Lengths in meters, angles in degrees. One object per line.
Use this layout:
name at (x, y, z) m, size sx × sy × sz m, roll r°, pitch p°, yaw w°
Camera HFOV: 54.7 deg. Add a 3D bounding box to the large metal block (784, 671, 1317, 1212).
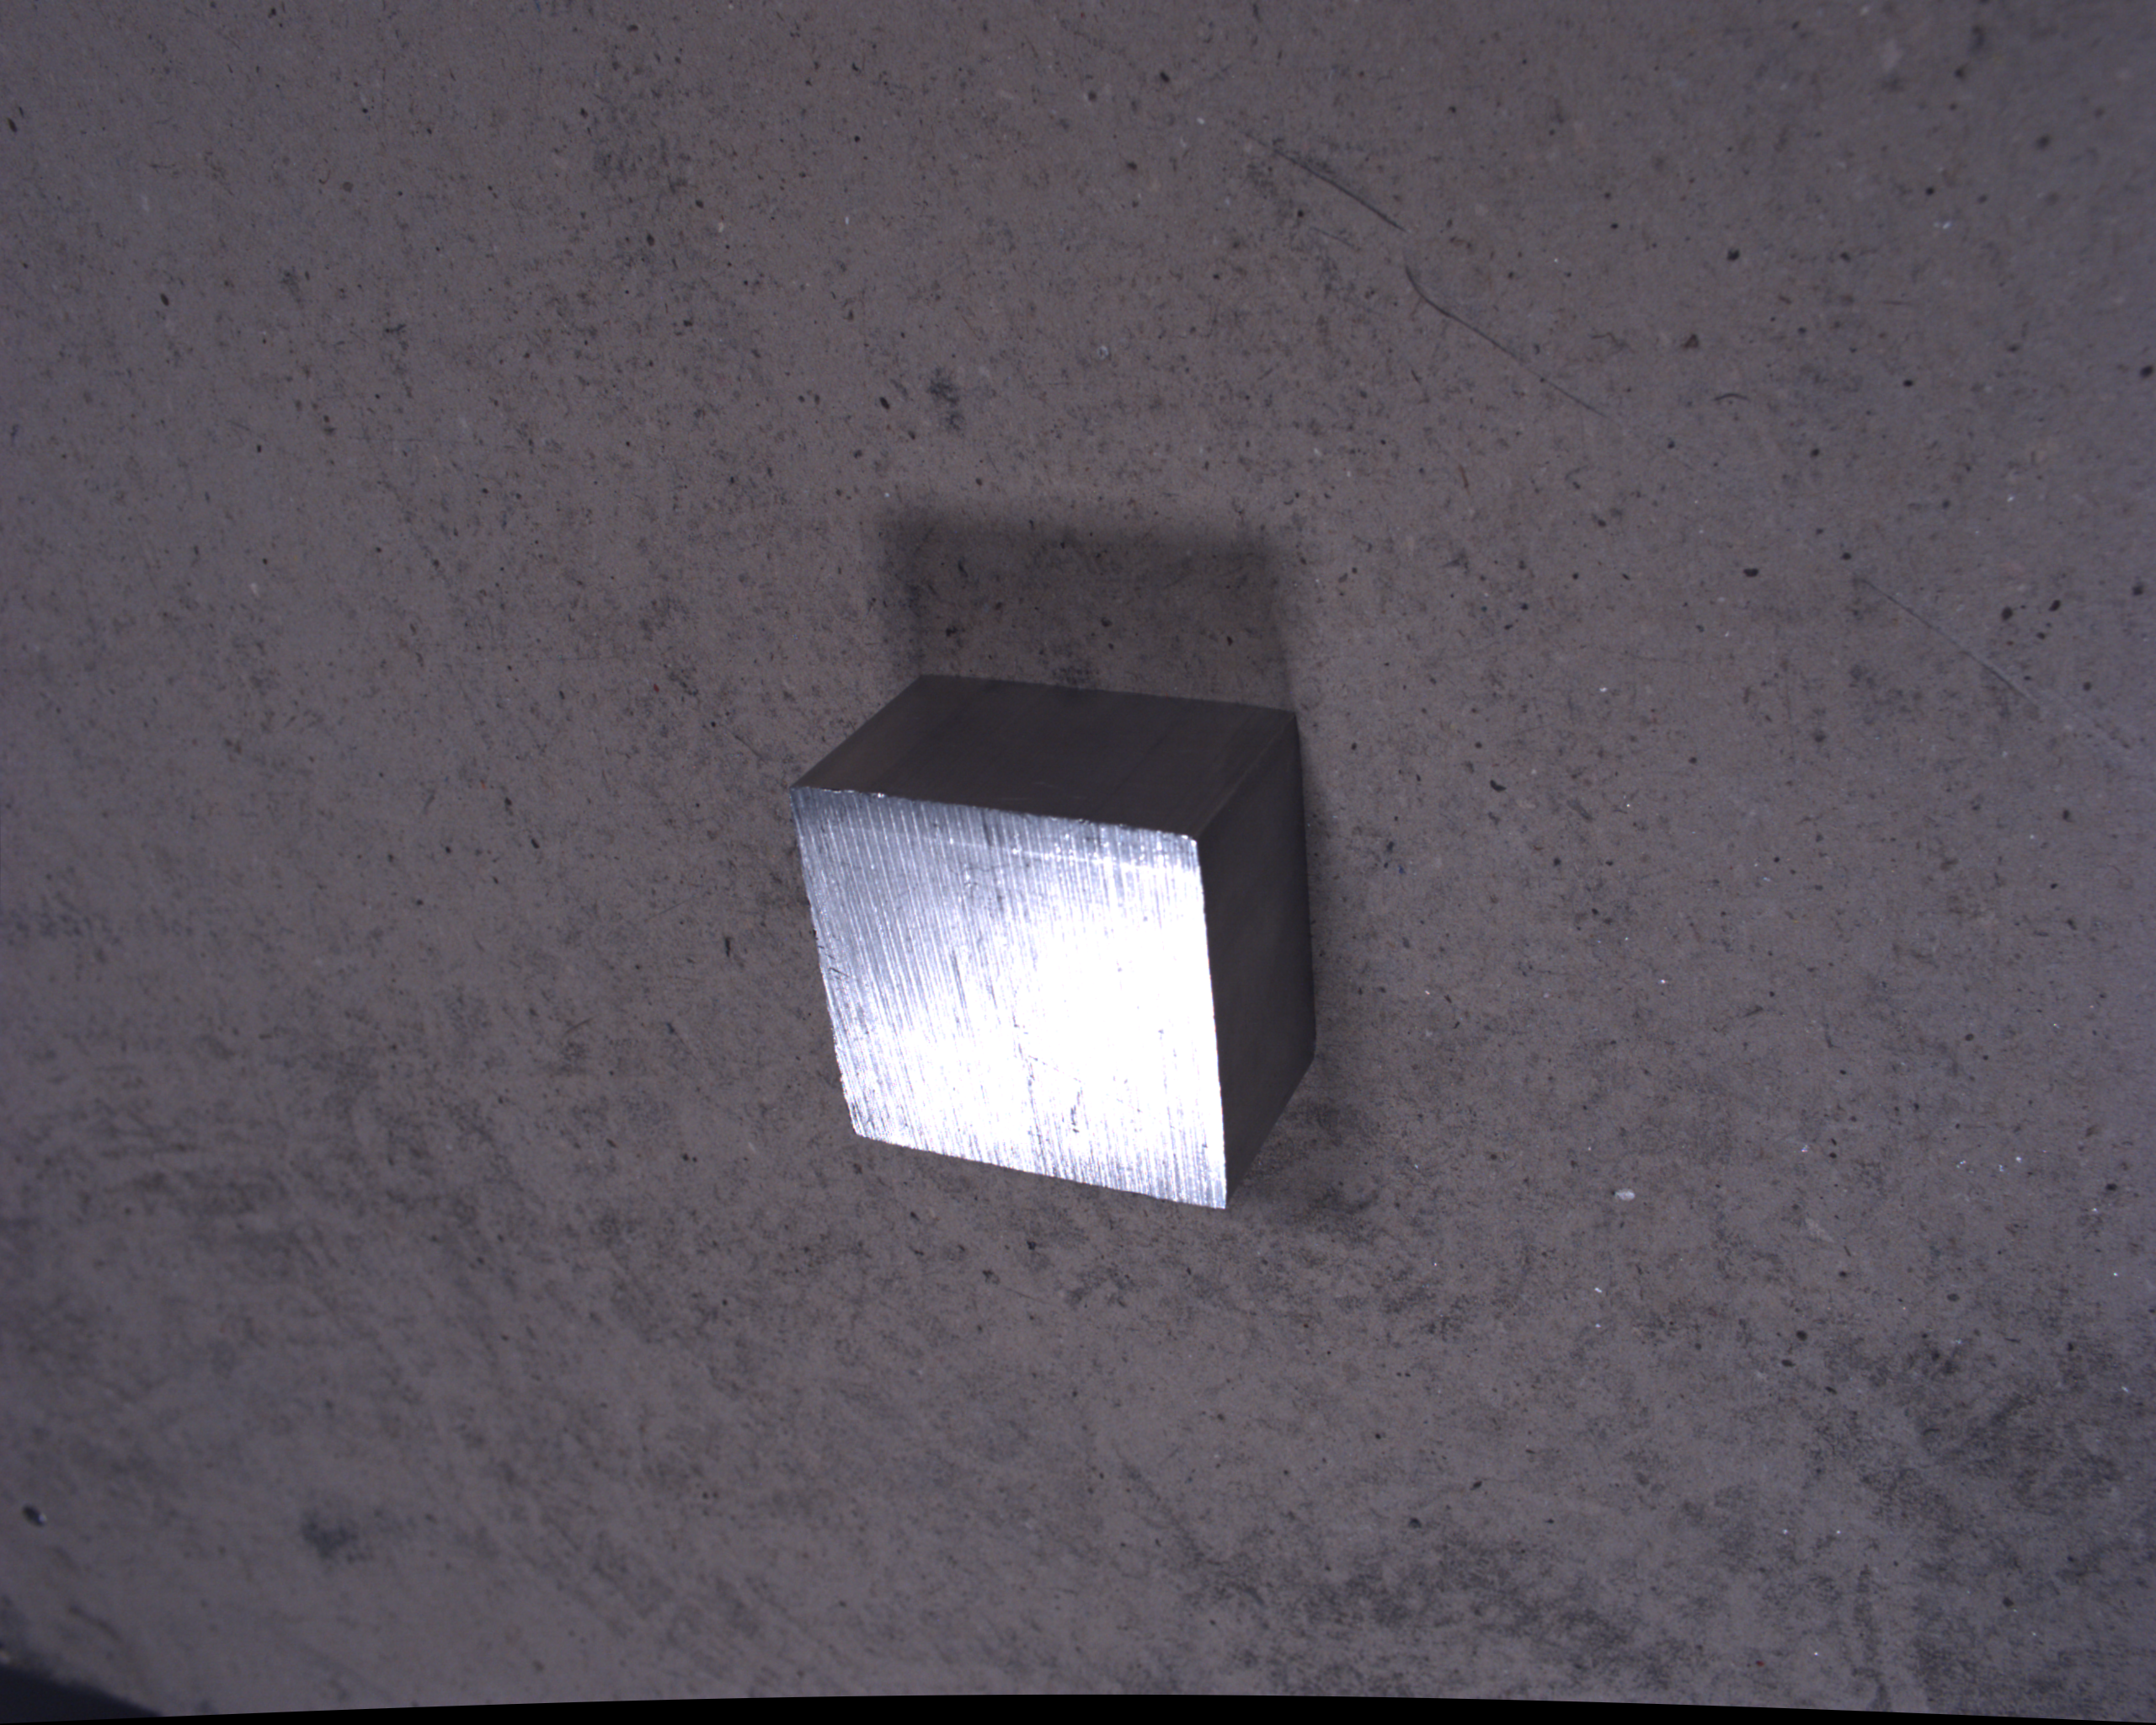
large metal block at (-0.002, 0.013, 0.400) m, size 0.080 × 0.050 × 0.079 m, roll 8°, pitch 122°, yaw 24°
